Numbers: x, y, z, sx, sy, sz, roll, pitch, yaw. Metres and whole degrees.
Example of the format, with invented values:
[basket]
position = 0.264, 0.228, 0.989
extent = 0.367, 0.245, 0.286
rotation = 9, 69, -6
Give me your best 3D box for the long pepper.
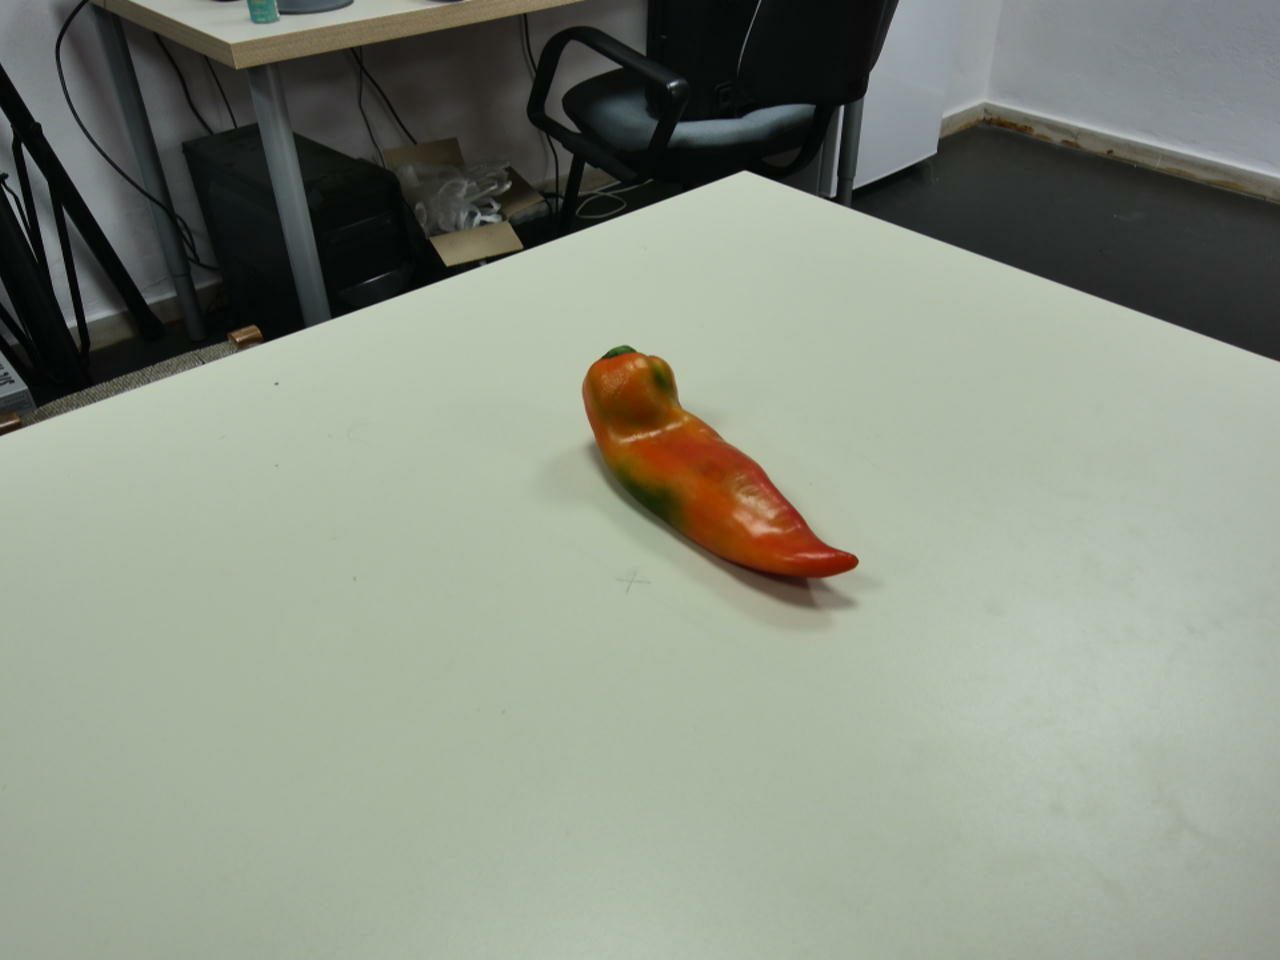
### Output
[long pepper]
position = 0.037, -0.009, 0.529
extent = 0.066, 0.065, 0.199
rotation = -23, 41, -27
